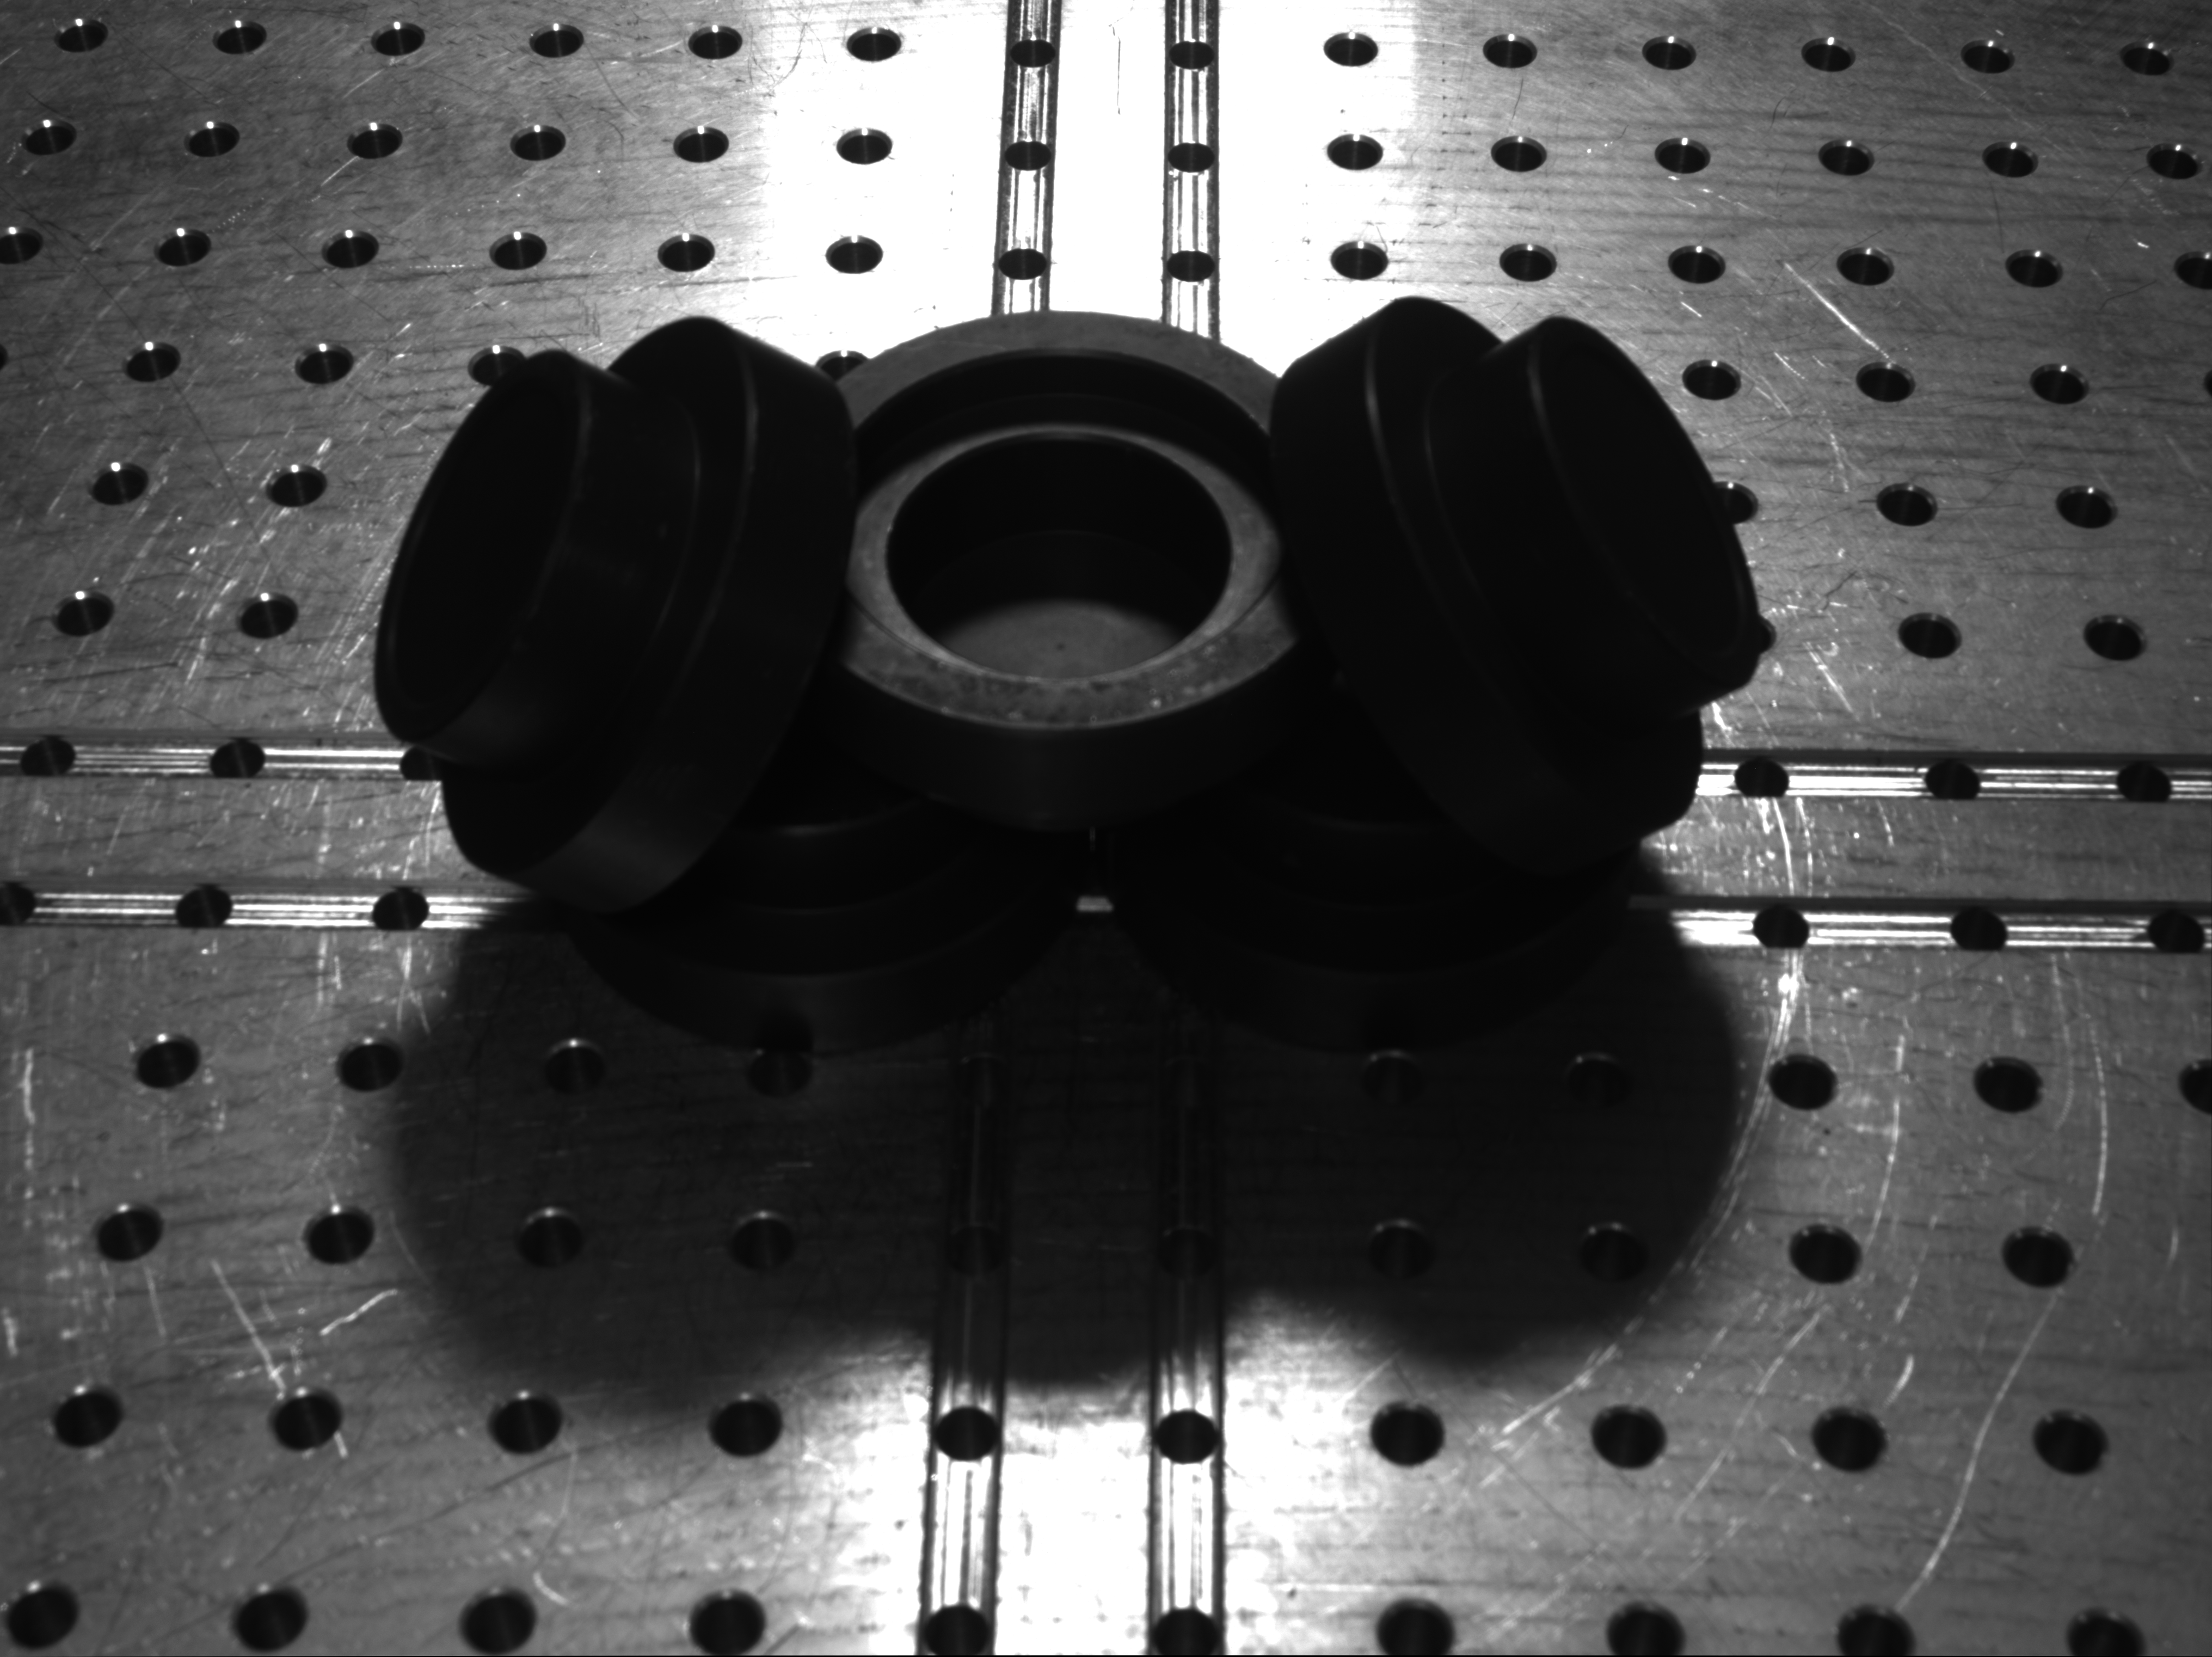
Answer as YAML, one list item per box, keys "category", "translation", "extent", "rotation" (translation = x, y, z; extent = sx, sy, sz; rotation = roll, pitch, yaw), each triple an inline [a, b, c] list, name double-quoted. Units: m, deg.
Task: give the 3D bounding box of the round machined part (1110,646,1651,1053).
- category: "round machined part"
  translation: [0.049, -0.012, 0.644]
  extent: [0.098, 0.042, 0.098]
  rotation: [0, 50, 0]

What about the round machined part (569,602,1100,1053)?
- category: "round machined part"
  translation: [-0.049, -0.012, 0.644]
  extent: [0.098, 0.042, 0.098]
  rotation: [0, 50, 0]

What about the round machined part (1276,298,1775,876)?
- category: "round machined part"
  translation: [0.074, -0.045, 0.605]
  extent: [0.042, 0.098, 0.098]
  rotation: [-29, 42, 30]

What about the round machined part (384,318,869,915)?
- category: "round machined part"
  translation: [-0.083, -0.039, 0.600]
  extent: [0.042, 0.098, 0.098]
  rotation: [23, 42, -31]

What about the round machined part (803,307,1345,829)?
- category: "round machined part"
  translation: [-0.005, -0.039, 0.610]
  extent: [0.098, 0.042, 0.098]
  rotation: [0, 50, 0]
